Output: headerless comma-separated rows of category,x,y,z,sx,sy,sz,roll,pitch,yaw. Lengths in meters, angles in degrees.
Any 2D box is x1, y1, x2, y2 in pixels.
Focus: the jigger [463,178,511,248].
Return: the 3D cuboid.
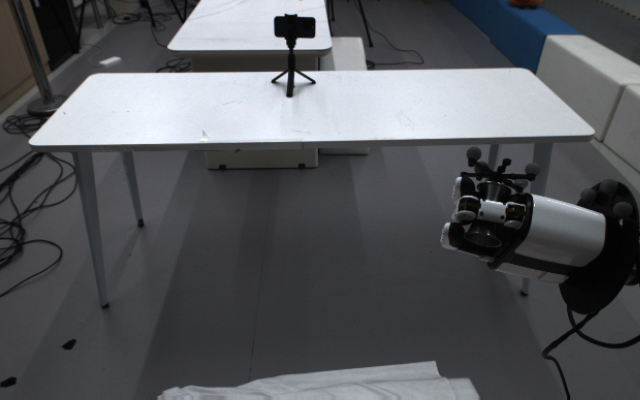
jigger,0.202,0.016,0.579,0.043,0.043,0.071,13,73,15
